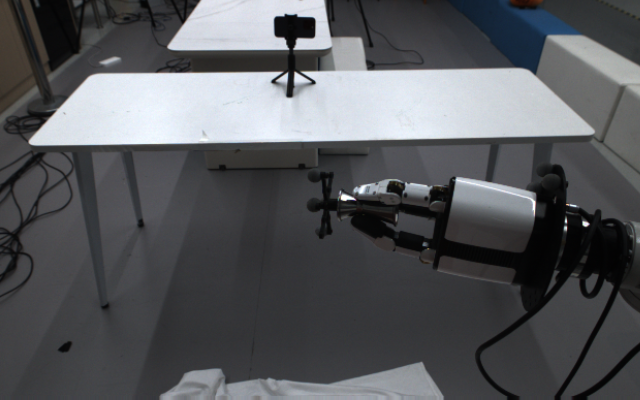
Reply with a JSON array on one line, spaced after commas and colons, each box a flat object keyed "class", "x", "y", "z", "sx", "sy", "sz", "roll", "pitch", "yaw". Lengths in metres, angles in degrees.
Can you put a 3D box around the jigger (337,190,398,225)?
[{"class": "jigger", "x": 0.065, "y": 0.004, "z": 0.575, "sx": 0.071, "sy": 0.043, "sz": 0.043, "roll": 2, "pitch": 34, "yaw": 14}]
